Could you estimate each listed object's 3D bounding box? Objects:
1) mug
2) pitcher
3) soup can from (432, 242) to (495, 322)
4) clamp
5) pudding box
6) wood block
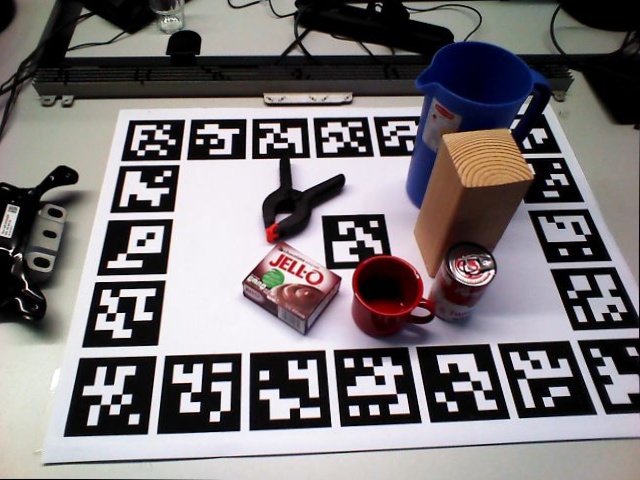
[{"bbox_3d":[0.099,0.084,0.679,0.117,0.082,0.092,28,56,19],"label":"mug"},{"bbox_3d":[0.224,-0.153,0.753,0.189,0.243,0.132,-4,52,0],"label":"pitcher"},{"bbox_3d":[0.191,0.059,0.685,0.068,0.102,0.067,0,57,-1],"label":"soup can"},{"bbox_3d":[-0.032,-0.065,0.819,0.122,0.037,0.164,26,58,8],"label":"clamp"},{"bbox_3d":[-0.046,0.063,0.722,0.114,0.039,0.089,30,62,20],"label":"pudding box"},{"bbox_3d":[0.205,-0.045,0.694,0.090,0.207,0.090,-2,54,-7],"label":"wood block"}]
